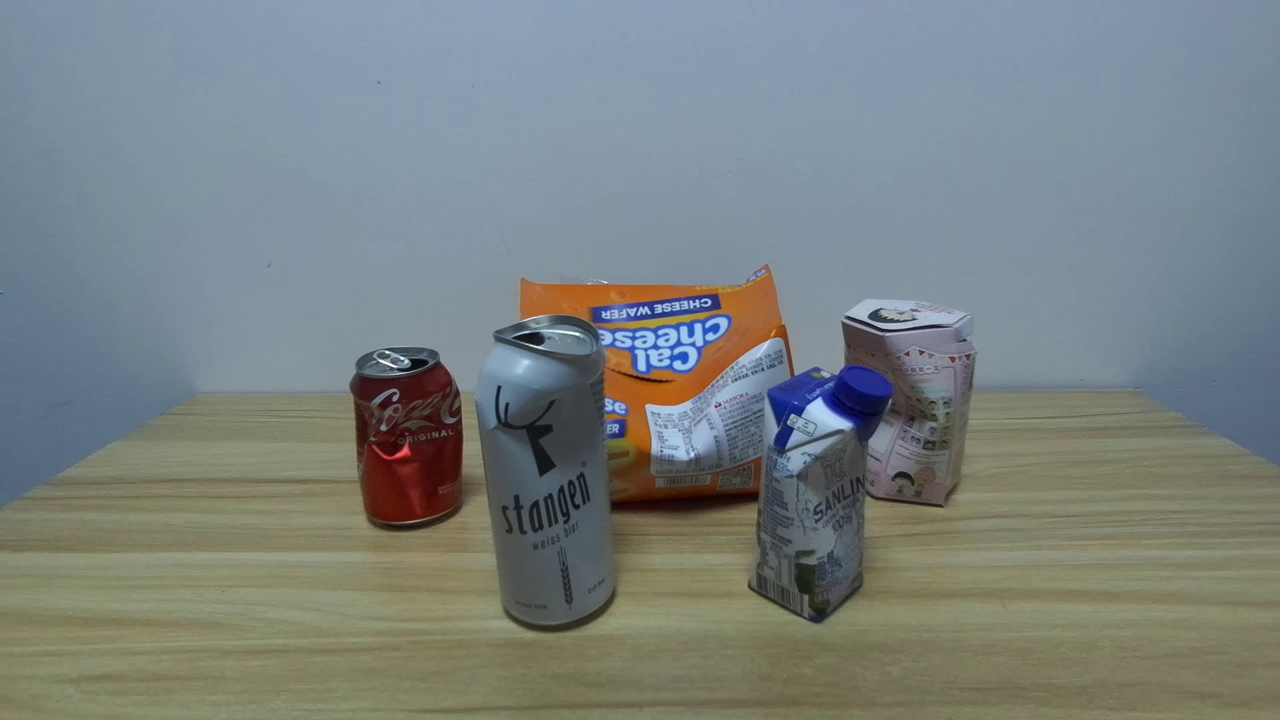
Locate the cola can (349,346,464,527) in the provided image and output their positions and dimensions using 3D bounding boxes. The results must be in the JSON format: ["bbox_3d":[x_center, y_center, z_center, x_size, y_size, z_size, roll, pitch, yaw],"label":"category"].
[{"bbox_3d":[-0.164,0.050,0.495,0.067,0.117,0.065,-18,29,-40],"label":"cola can"}]

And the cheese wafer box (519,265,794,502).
[{"bbox_3d":[0.014,0.016,0.538,0.219,0.145,0.191,-2,17,-4],"label":"cheese wafer box"}]

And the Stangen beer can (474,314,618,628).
[{"bbox_3d":[-0.047,0.062,0.379,0.066,0.162,0.077,-3,19,-5],"label":"Stangen beer can"}]

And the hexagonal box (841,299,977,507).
[{"bbox_3d":[0.191,0.030,0.514,0.090,0.134,0.091,2,18,18],"label":"hexagonal box"}]
